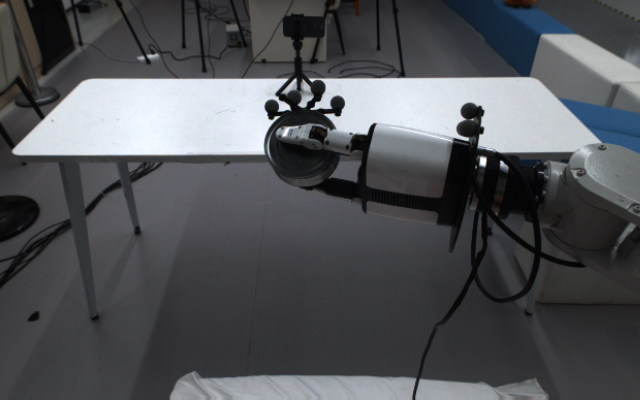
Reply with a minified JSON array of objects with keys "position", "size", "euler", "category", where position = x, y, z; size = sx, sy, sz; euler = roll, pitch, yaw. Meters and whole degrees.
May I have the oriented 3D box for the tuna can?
[{"position":[-0.017,-0.055,0.558],"size":[0.085,0.034,0.085],"euler":[-2,69,6],"category":"tuna can"}]
